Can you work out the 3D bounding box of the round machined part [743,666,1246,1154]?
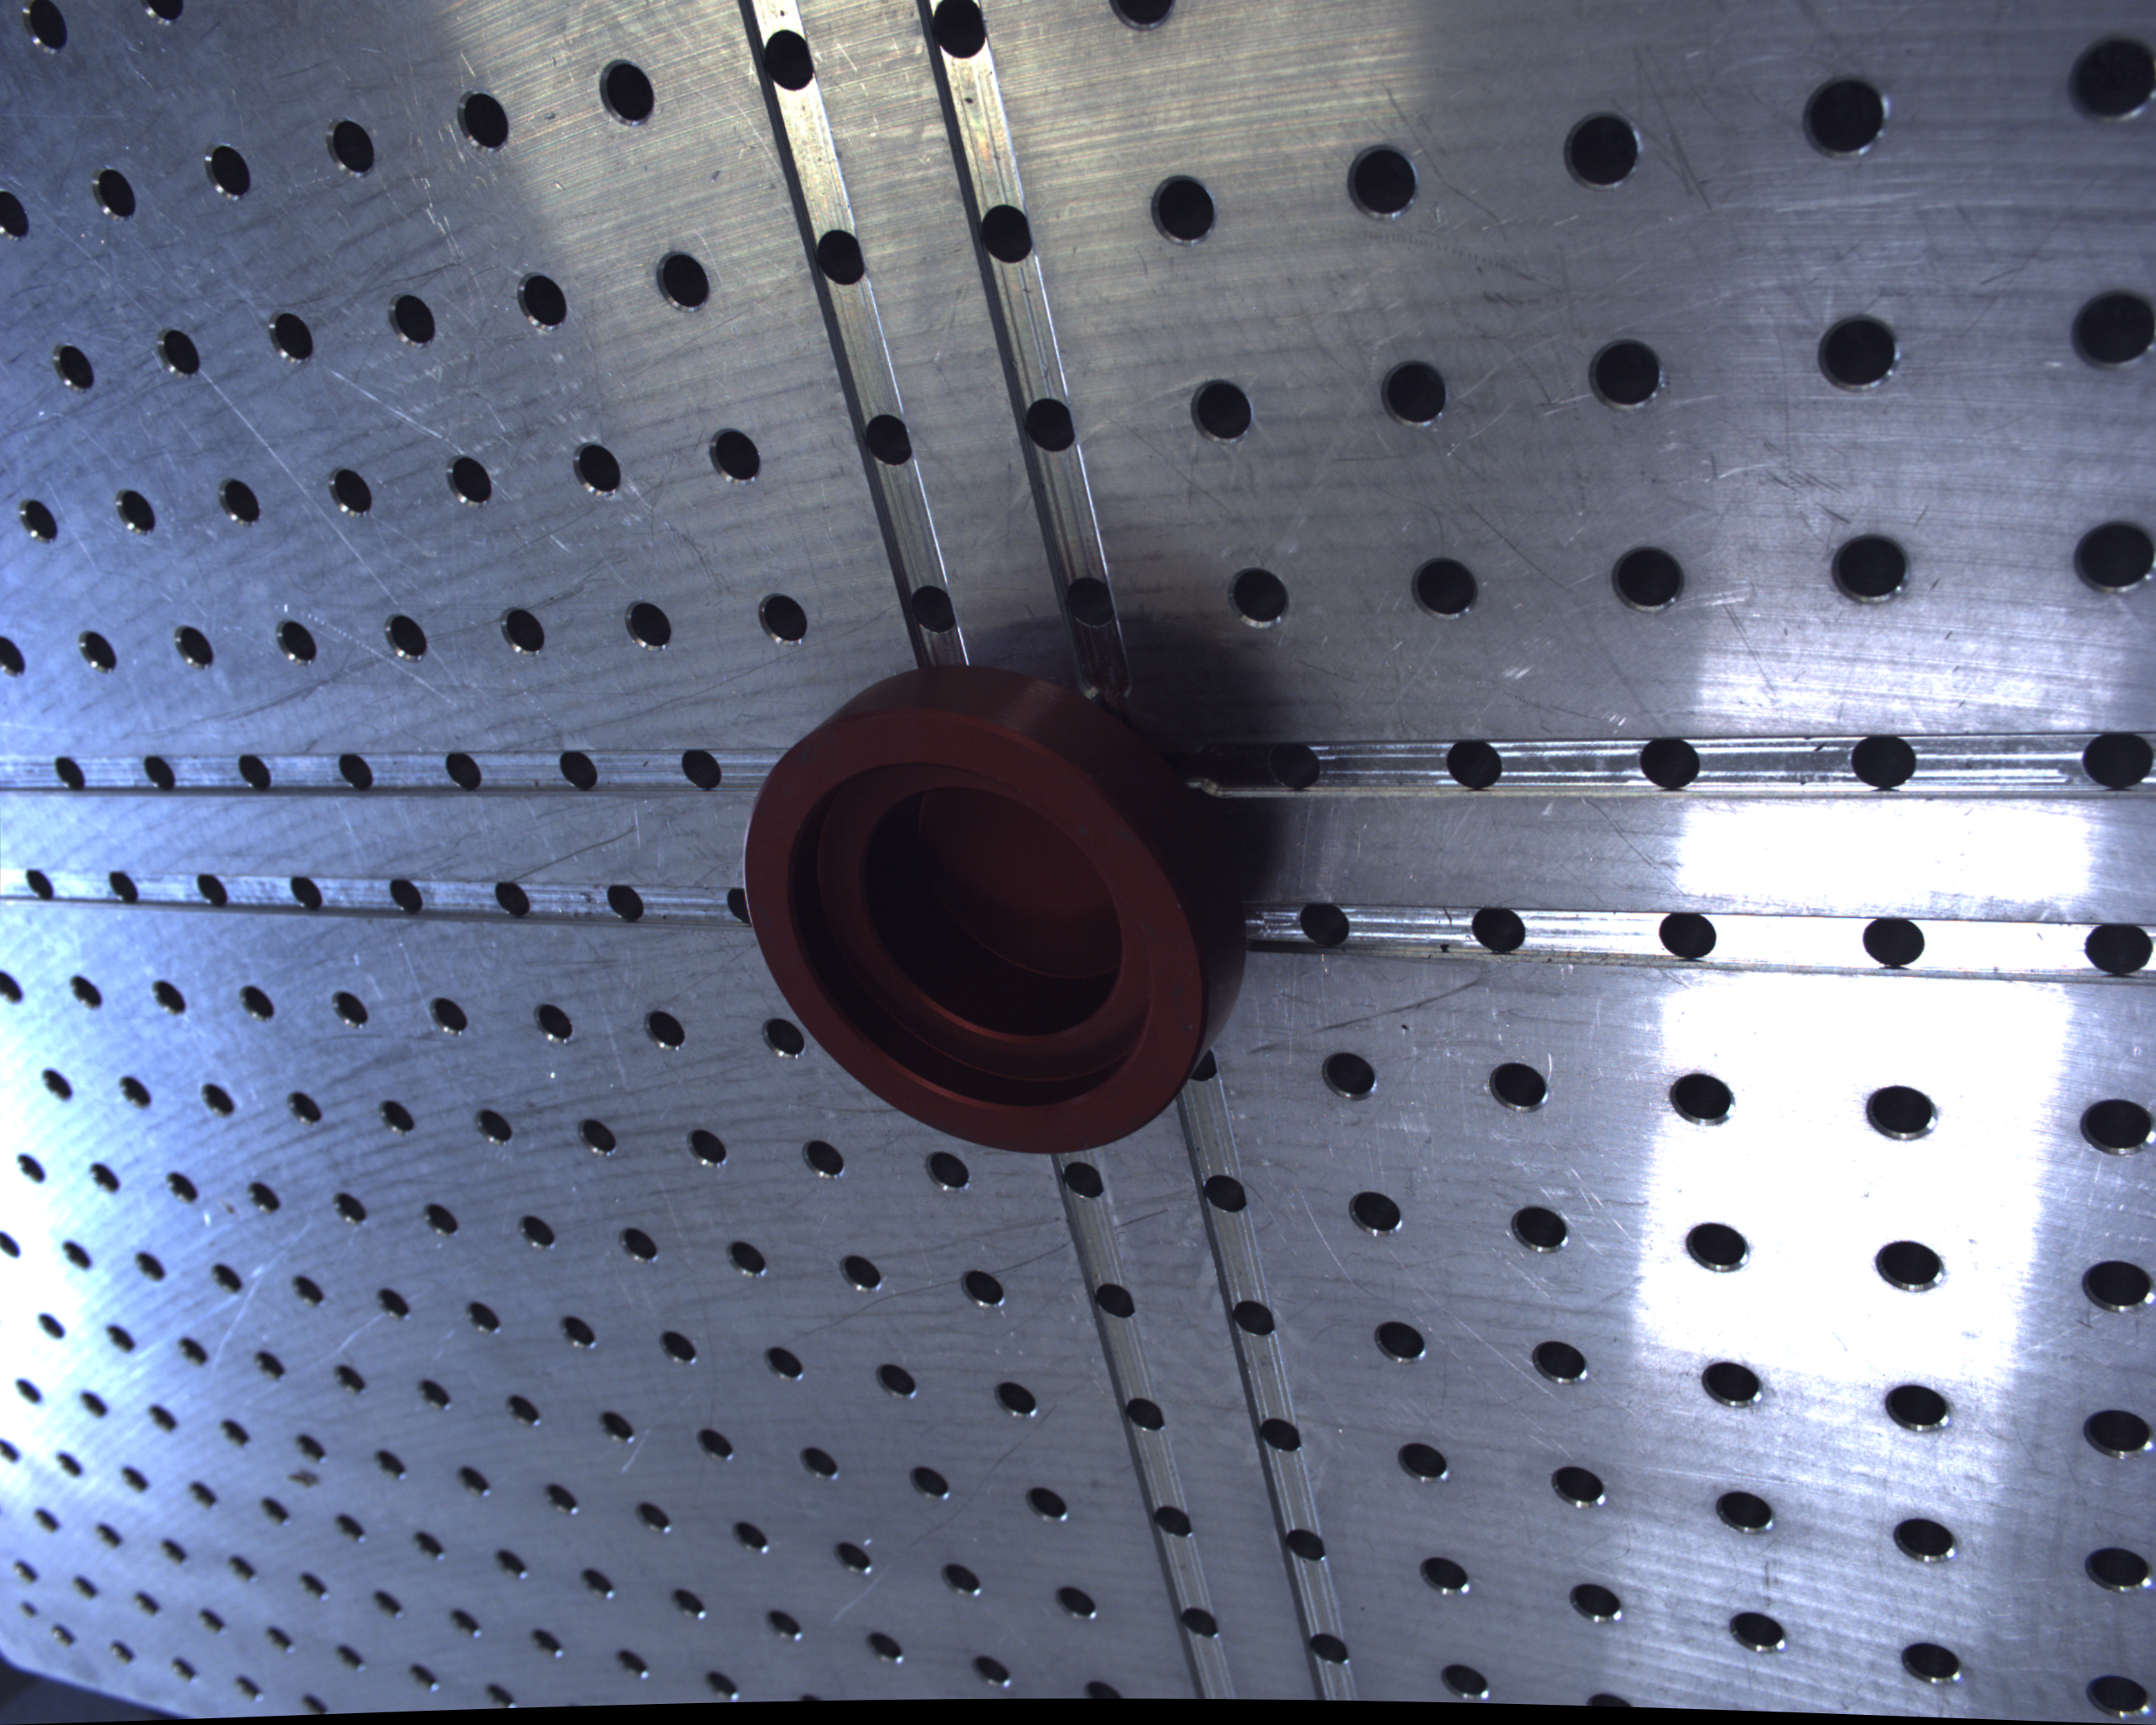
[{"bbox_3d":[-0.013,0.006,0.410,0.098,0.042,0.097,13,124,21],"label":"round machined part"}]
